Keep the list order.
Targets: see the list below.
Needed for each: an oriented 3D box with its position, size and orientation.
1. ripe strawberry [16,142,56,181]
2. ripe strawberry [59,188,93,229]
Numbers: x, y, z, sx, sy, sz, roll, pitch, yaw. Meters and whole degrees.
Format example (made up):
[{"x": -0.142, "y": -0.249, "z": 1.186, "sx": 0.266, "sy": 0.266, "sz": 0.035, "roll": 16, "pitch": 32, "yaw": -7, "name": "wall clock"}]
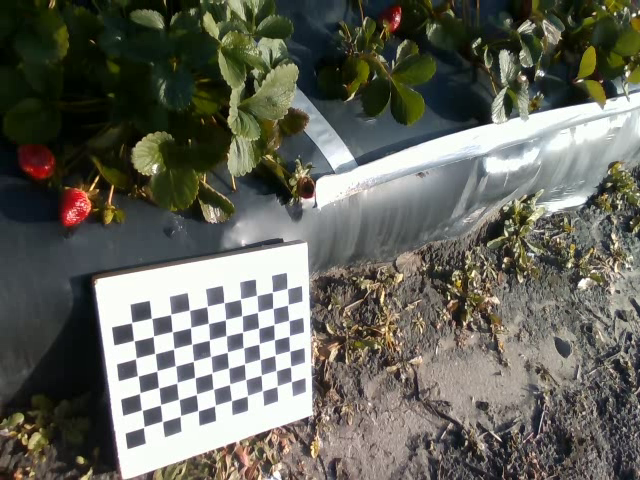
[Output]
[{"x": -0.339, "y": -0.092, "z": 0.715, "sx": 0.039, "sy": 0.048, "sz": 0.054, "roll": 13, "pitch": 2, "yaw": 33, "name": "ripe strawberry"}, {"x": -0.295, "y": -0.037, "z": 0.711, "sx": 0.038, "sy": 0.053, "sz": 0.043, "roll": -28, "pitch": -54, "yaw": 30, "name": "ripe strawberry"}]
